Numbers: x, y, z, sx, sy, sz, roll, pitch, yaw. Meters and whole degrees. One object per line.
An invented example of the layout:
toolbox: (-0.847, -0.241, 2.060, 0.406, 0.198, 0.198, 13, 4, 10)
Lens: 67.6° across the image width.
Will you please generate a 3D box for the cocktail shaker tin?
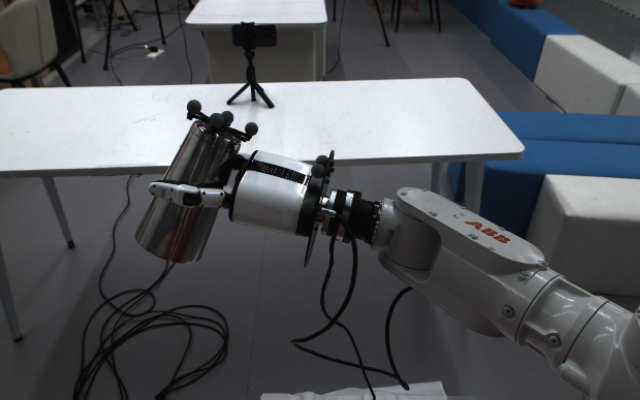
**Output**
cocktail shaker tin: (-0.165, -0.015, 0.635, 0.093, 0.170, 0.093, 24, 12, -6)
